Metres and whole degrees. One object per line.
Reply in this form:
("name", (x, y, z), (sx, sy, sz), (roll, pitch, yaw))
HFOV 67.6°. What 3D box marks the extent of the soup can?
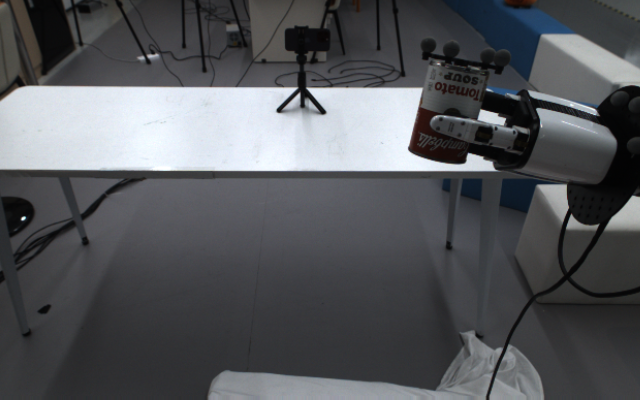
("soup can", (0.145, -0.101, 0.545), (0.067, 0.101, 0.067), (9, 20, -3))
